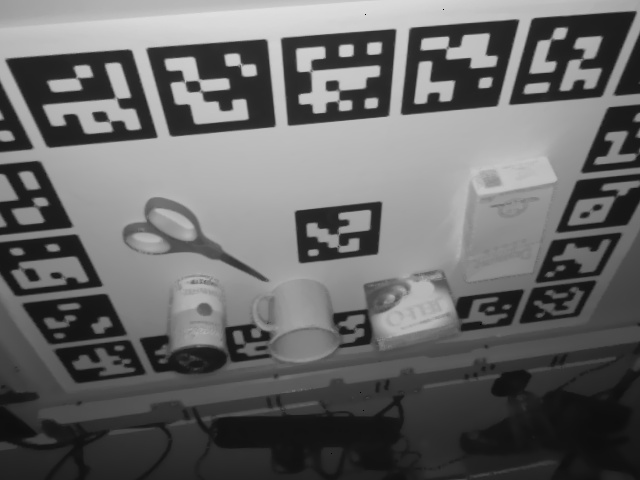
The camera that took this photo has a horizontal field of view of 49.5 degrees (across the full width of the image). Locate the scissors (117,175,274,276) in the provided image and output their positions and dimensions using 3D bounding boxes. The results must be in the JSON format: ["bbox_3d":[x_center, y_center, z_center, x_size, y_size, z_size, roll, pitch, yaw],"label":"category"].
[{"bbox_3d":[-0.130,0.000,0.782,0.087,0.016,0.204,-44,127,18],"label":"scissors"}]

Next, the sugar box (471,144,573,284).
[{"bbox_3d":[0.232,-0.026,0.815,0.093,0.045,0.175,-10,135,-4],"label":"sugar box"}]

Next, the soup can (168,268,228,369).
[{"bbox_3d":[-0.146,0.092,0.825,0.068,0.102,0.067,-6,138,-5],"label":"soup can"}]

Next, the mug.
[{"bbox_3d":[-0.030,0.106,0.867,0.092,0.082,0.118,-34,133,19],"label":"mug"}]

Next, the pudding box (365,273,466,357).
[{"bbox_3d":[0.119,0.095,0.875,0.114,0.090,0.038,-12,130,2],"label":"pudding box"}]
